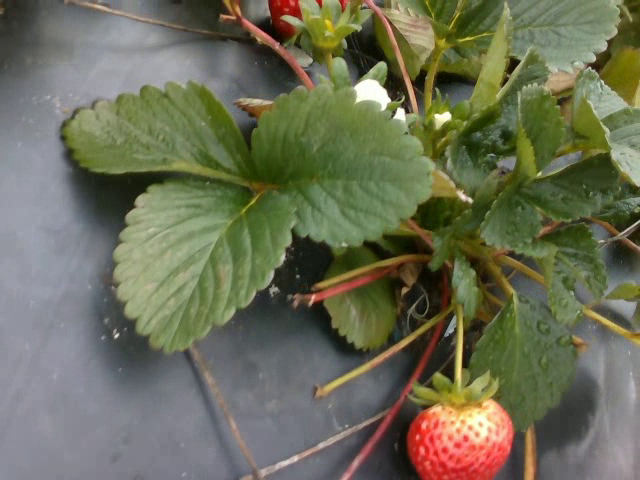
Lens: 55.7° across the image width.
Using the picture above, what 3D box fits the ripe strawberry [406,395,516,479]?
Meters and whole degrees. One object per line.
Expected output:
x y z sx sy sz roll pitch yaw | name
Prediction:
0.071 0.104 0.288 0.049 0.065 0.061 7 17 37 | ripe strawberry
